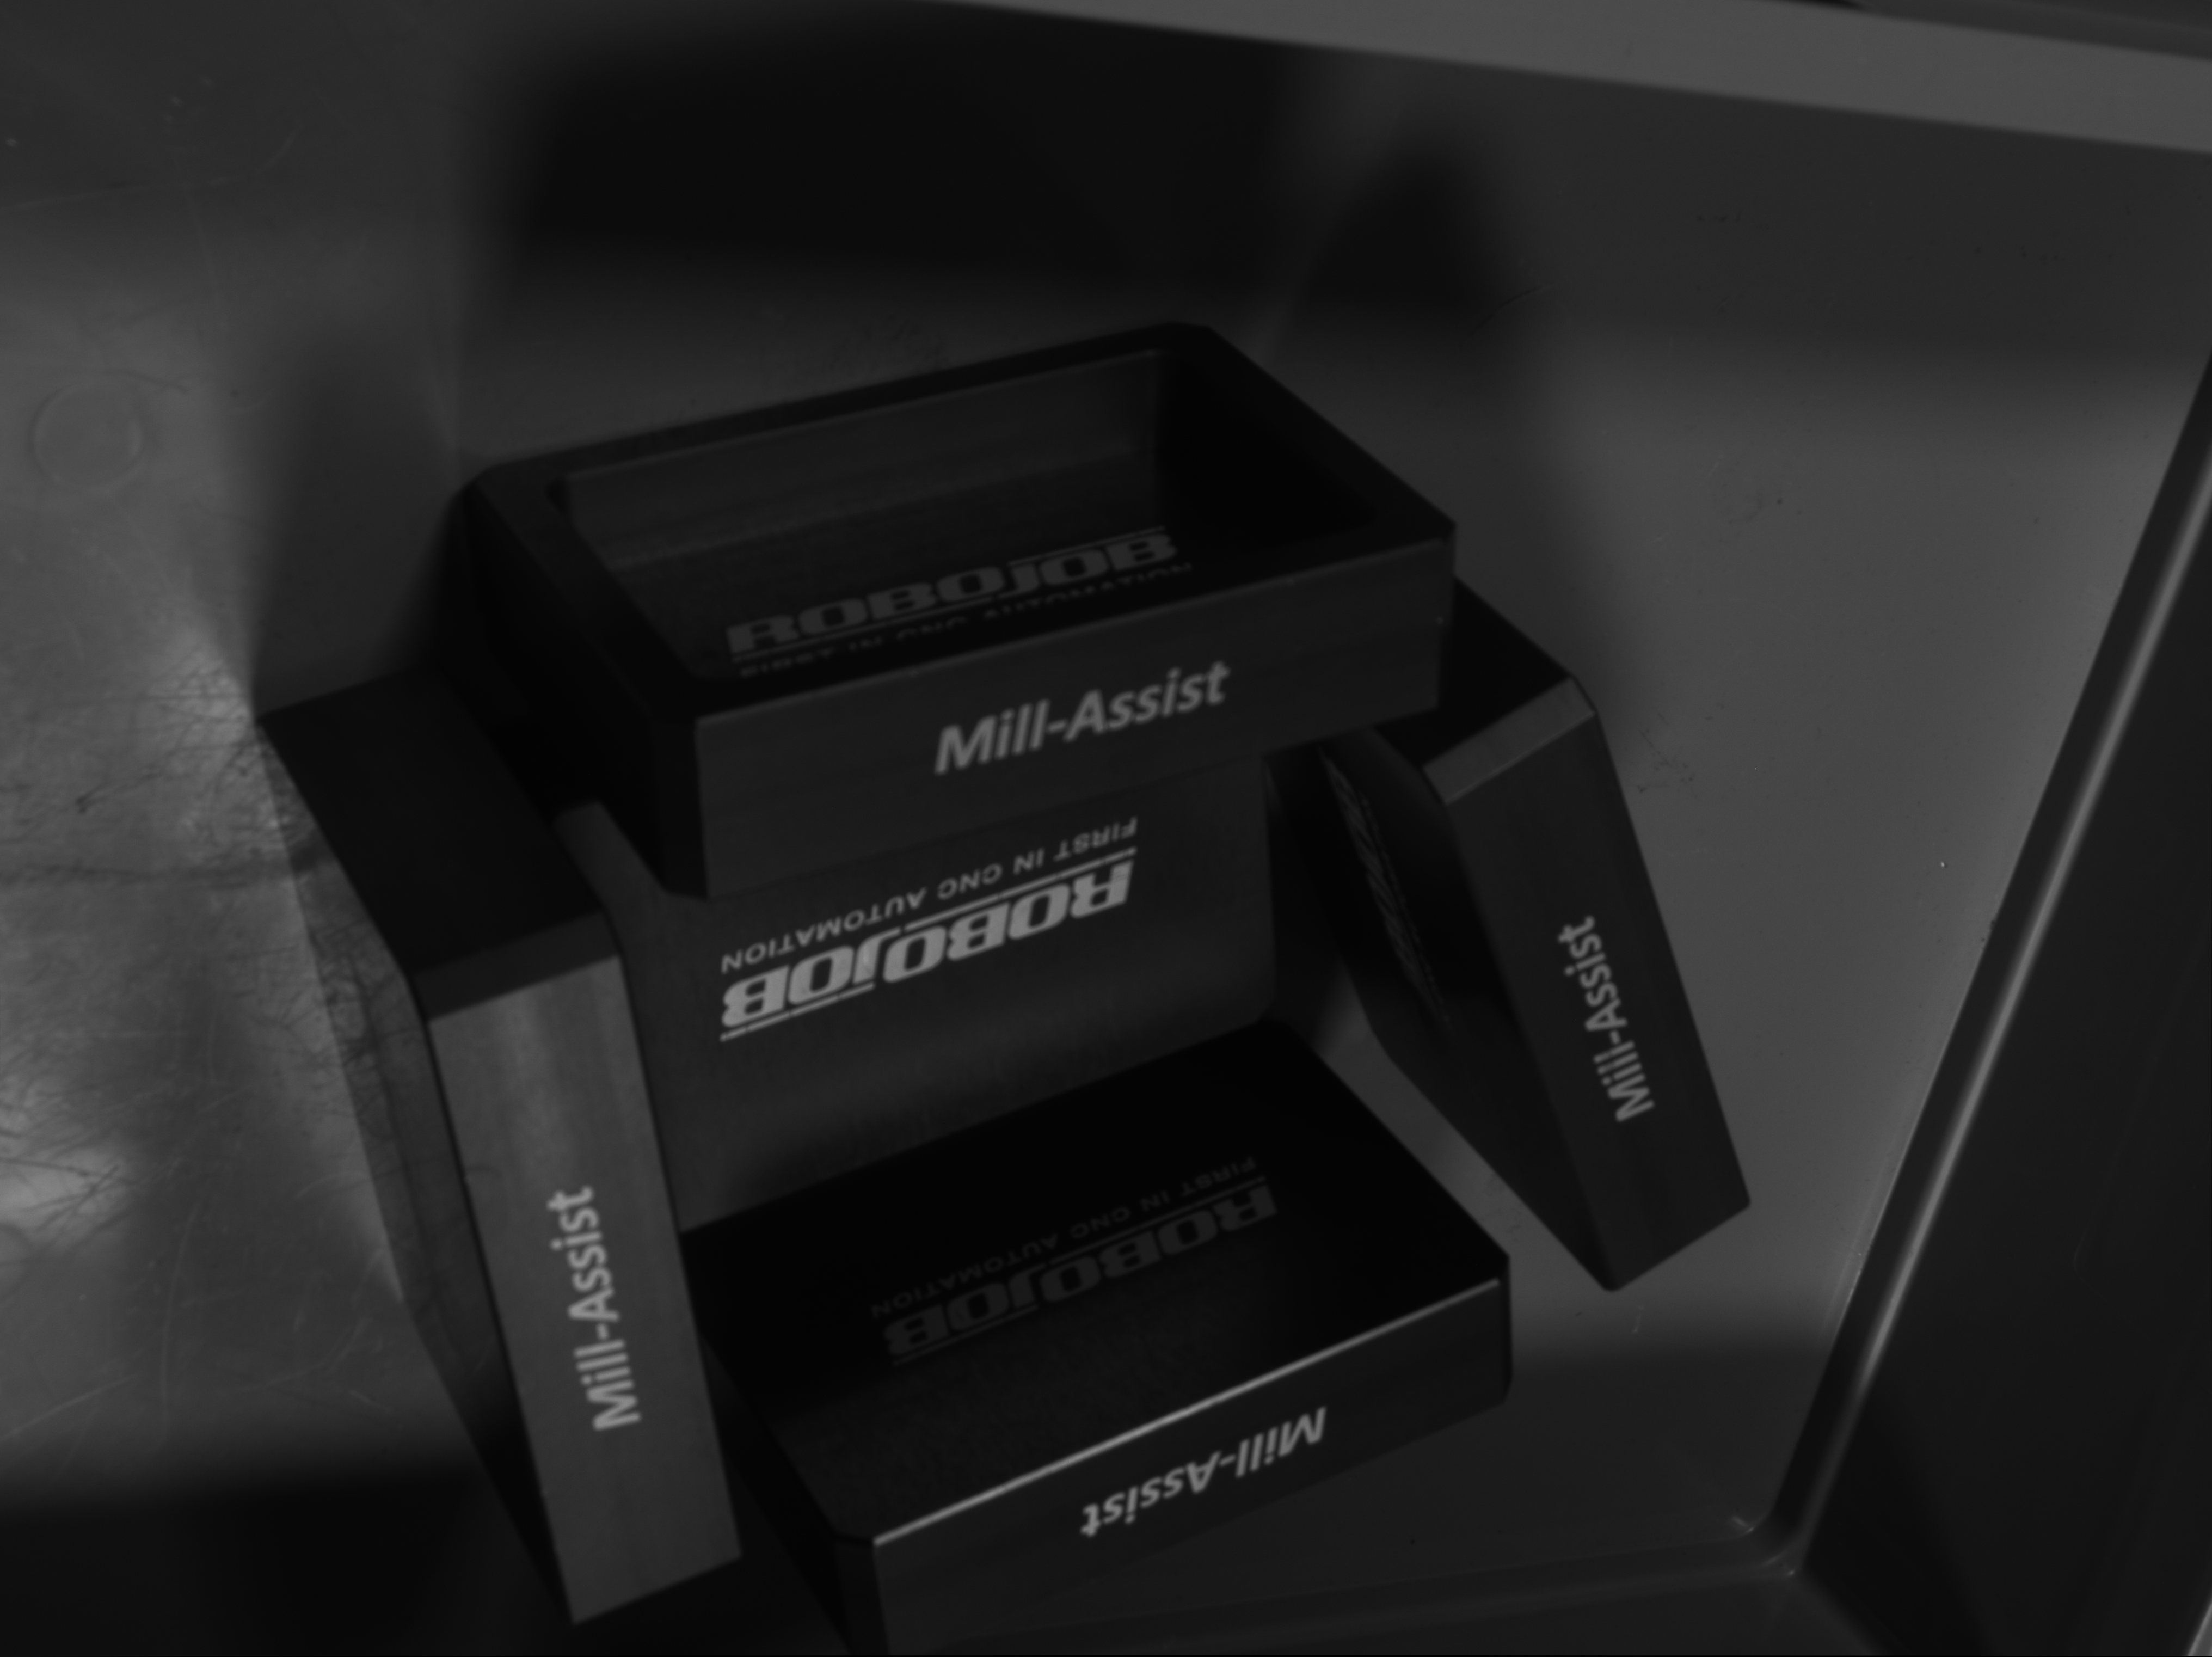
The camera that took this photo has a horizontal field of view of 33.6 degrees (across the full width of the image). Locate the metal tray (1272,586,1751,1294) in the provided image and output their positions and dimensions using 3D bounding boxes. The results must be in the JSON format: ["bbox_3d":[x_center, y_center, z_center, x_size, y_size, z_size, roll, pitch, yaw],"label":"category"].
[{"bbox_3d":[0.065,0.011,0.652,0.030,0.090,0.130,-31,129,-9],"label":"metal tray"}]

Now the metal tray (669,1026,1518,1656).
[{"bbox_3d":[-0.003,0.090,0.660,0.130,0.090,0.030,-19,126,-19],"label":"metal tray"}]

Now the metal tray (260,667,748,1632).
[{"bbox_3d":[-0.095,0.051,0.582,0.030,0.090,0.130,-20,126,-19],"label":"metal tray"}]

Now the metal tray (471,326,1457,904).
[{"bbox_3d":[-0.023,-0.037,0.570,0.130,0.090,0.030,-15,125,-22],"label":"metal tray"}]

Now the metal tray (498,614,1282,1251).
[{"bbox_3d":[-0.035,0.011,0.630,0.130,0.030,0.090,-19,126,-20],"label":"metal tray"}]
